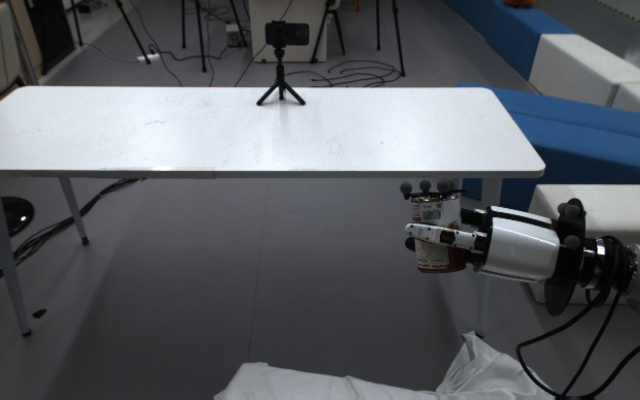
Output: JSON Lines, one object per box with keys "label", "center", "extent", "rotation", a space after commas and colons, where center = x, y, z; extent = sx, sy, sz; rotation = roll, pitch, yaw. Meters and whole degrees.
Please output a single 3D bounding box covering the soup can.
{"label": "soup can", "center": [0.167, 0.045, 0.677], "extent": [0.067, 0.101, 0.067], "rotation": [-7, 3, 0]}
